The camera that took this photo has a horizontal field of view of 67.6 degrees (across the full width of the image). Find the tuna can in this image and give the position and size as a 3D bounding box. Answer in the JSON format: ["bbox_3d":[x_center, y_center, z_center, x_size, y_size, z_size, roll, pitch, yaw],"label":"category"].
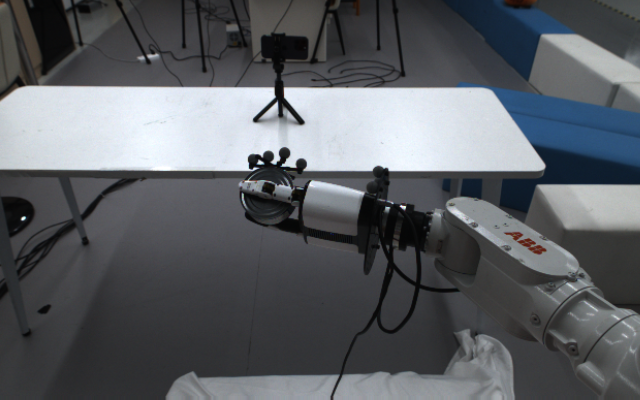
[{"bbox_3d":[-0.078,-0.007,0.745,0.085,0.034,0.085,-3,68,8],"label":"tuna can"}]
